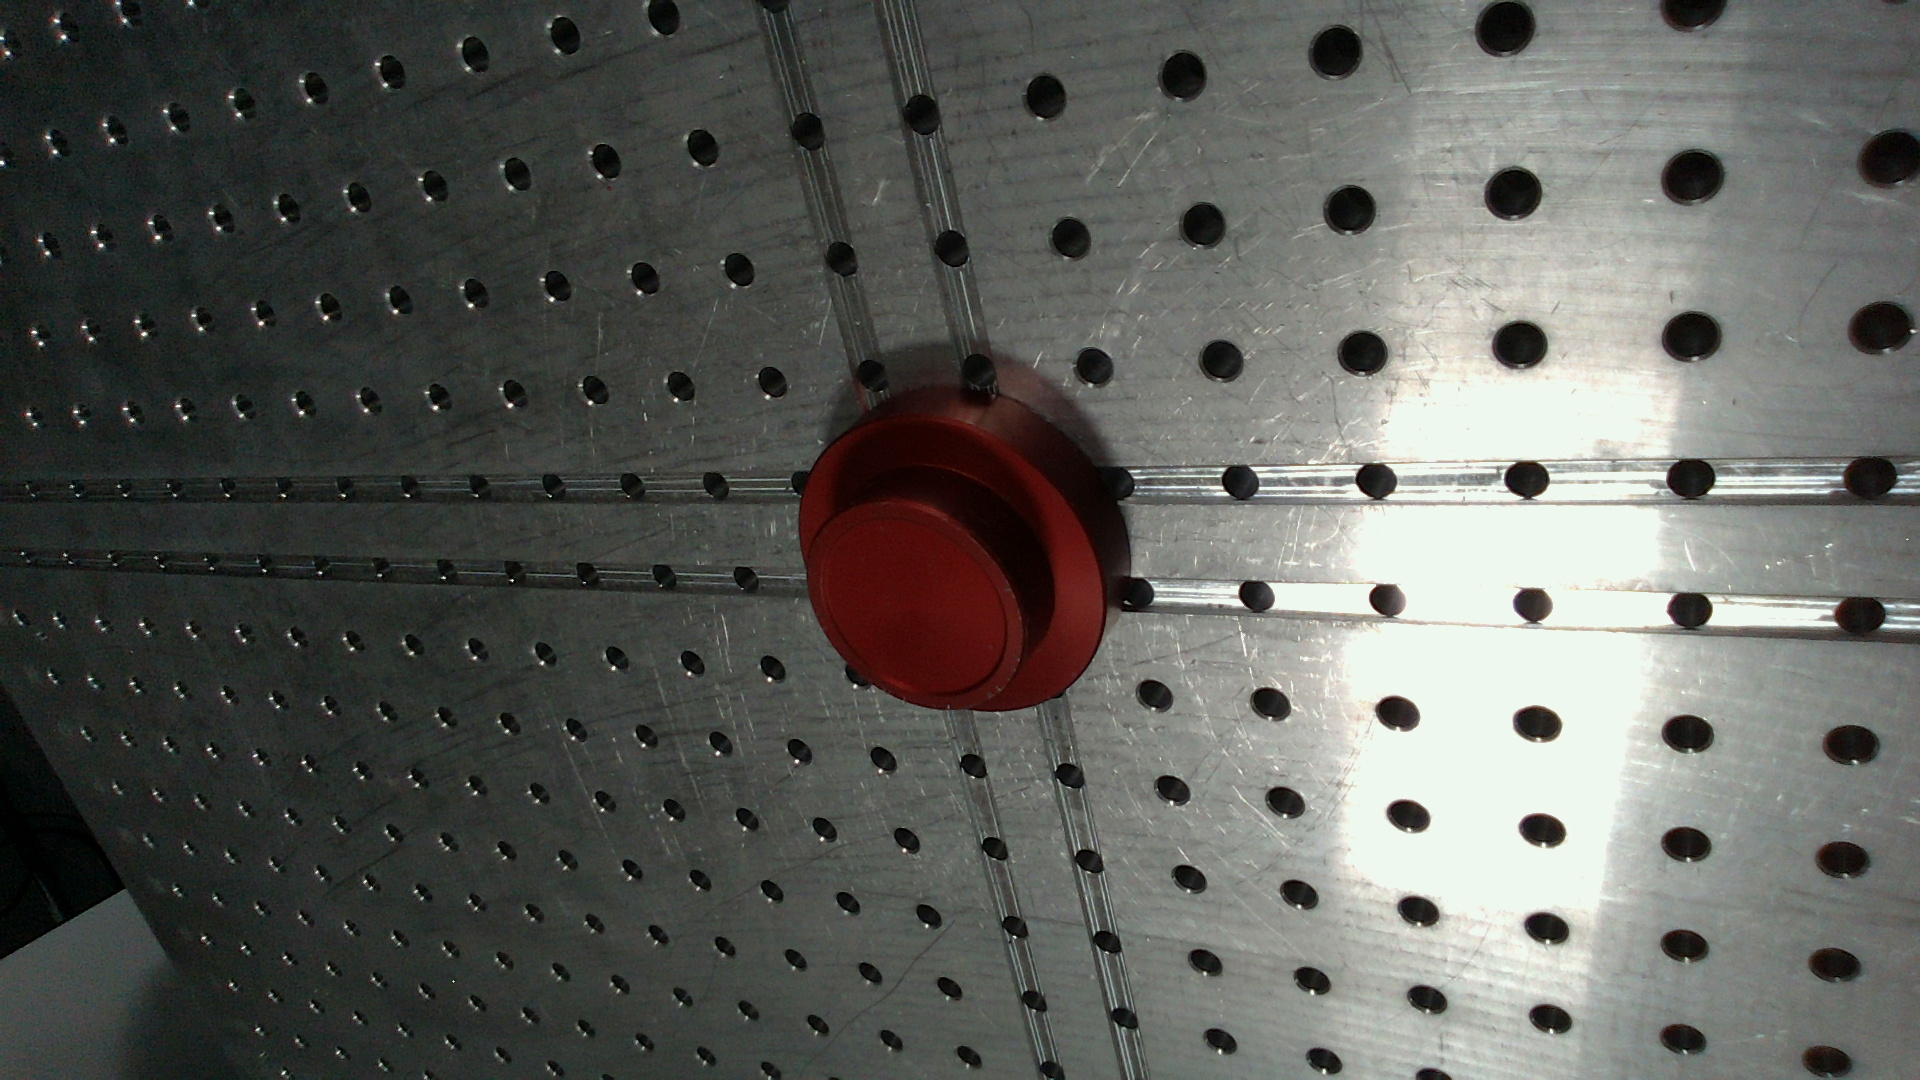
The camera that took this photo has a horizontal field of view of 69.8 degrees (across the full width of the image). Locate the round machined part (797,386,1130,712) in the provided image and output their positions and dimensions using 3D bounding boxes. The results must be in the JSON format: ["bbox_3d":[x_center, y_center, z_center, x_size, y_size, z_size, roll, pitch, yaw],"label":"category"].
[{"bbox_3d":[-0.005,0.009,0.393,0.098,0.042,0.098,13,124,21],"label":"round machined part"}]
